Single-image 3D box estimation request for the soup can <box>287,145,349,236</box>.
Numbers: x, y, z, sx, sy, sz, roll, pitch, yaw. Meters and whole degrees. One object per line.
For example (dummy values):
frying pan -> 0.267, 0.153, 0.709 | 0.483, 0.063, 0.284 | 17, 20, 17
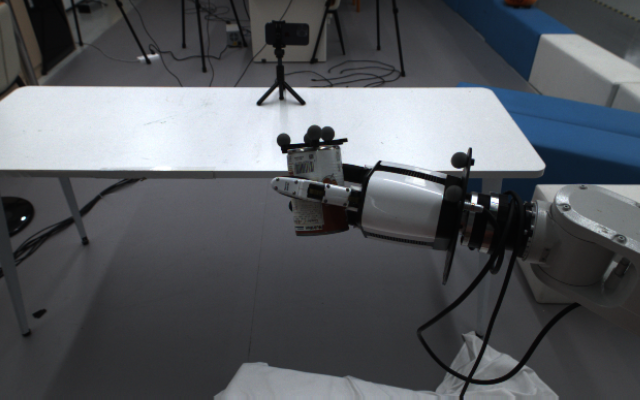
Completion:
soup can -> -0.001, -0.012, 0.586 | 0.067, 0.101, 0.067 | -7, 3, 0
